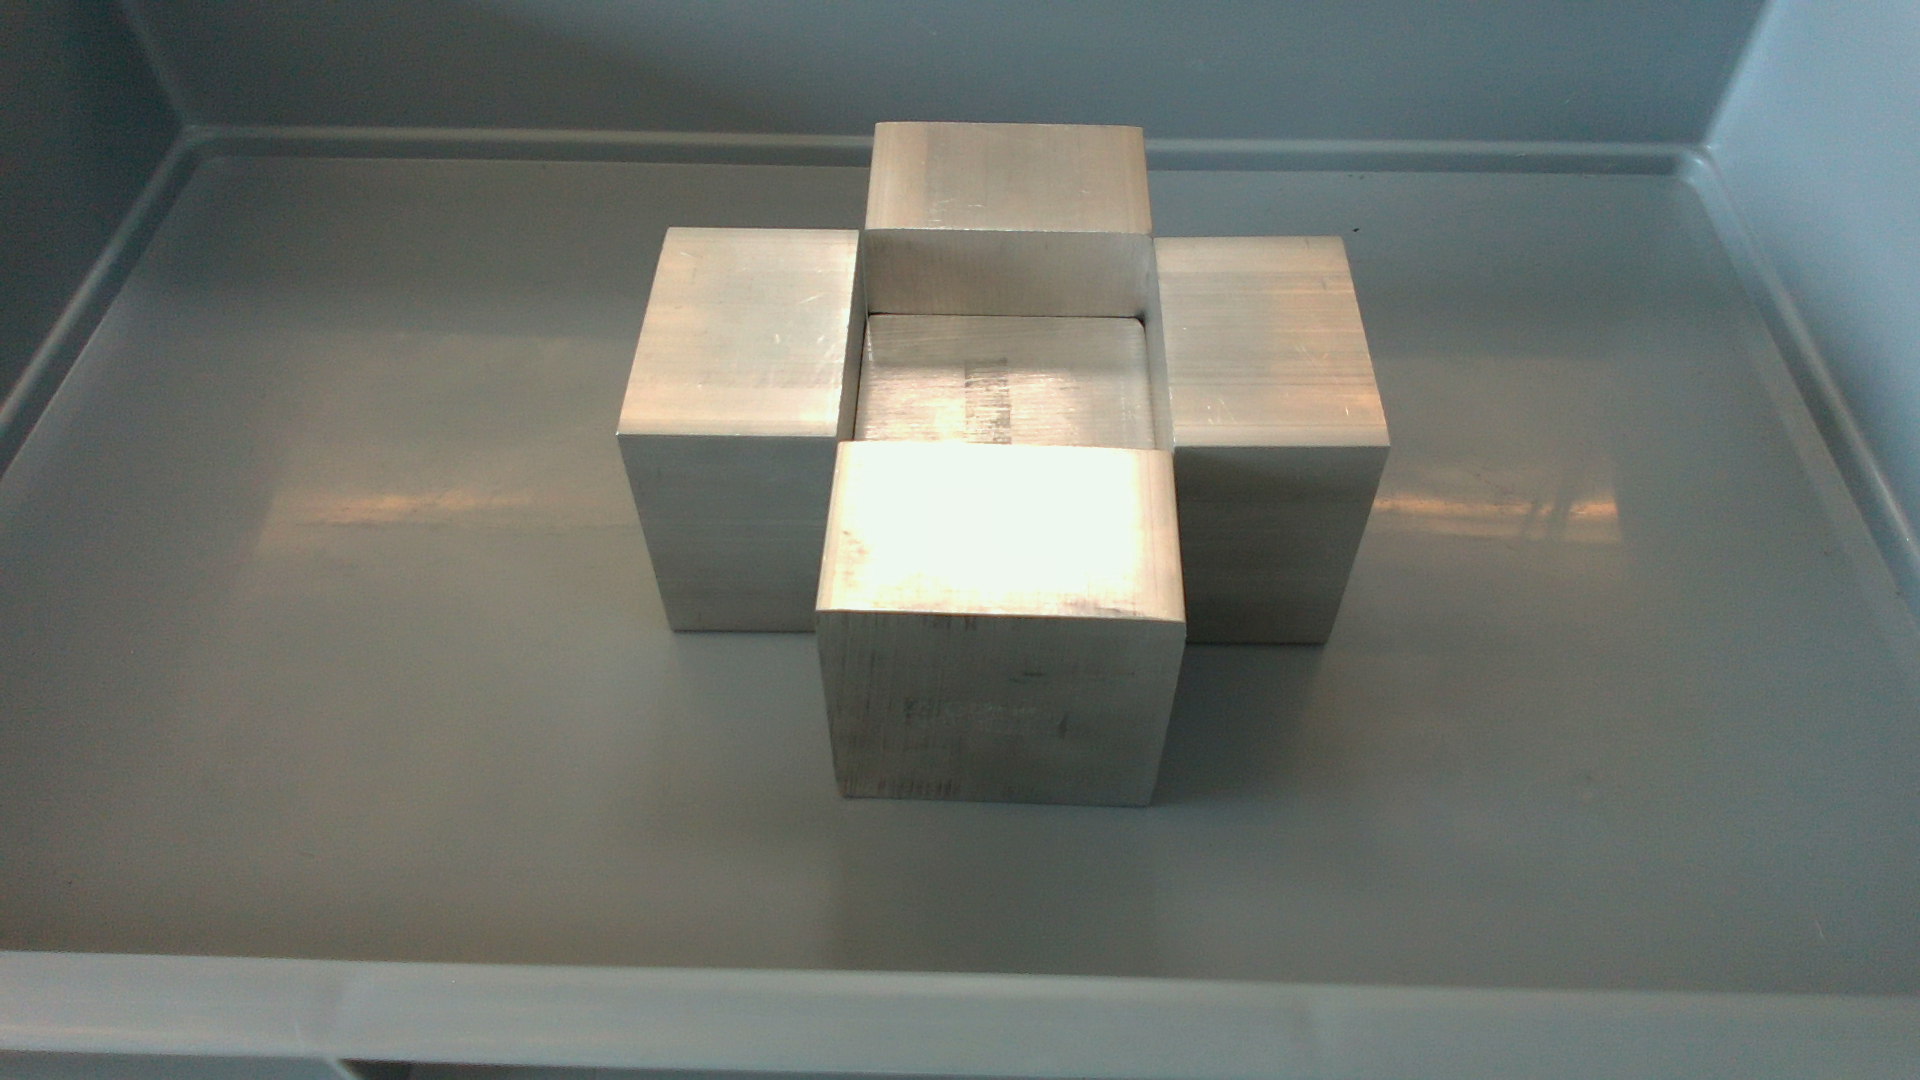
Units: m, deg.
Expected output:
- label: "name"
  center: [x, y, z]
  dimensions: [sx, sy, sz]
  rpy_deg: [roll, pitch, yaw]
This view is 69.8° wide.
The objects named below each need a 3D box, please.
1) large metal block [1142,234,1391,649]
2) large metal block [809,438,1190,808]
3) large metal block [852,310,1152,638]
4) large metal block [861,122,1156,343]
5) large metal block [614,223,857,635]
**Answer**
- label: "large metal block"
  center: [0.077, -0.026, 0.377]
  dimensions: [0.050, 0.080, 0.080]
  rpy_deg: [1, 50, 1]
- label: "large metal block"
  center: [0.009, 0.022, 0.335]
  dimensions: [0.080, 0.080, 0.050]
  rpy_deg: [1, 50, 1]
- label: "large metal block"
  center: [0.012, -0.019, 0.389]
  dimensions: [0.080, 0.050, 0.080]
  rpy_deg: [1, 50, 1]
- label: "large metal block"
  center: [0.014, -0.078, 0.420]
  dimensions: [0.080, 0.080, 0.050]
  rpy_deg: [1, 50, 1]
- label: "large metal block"
  center: [-0.056, -0.030, 0.380]
  dimensions: [0.050, 0.080, 0.080]
  rpy_deg: [1, 50, 1]
